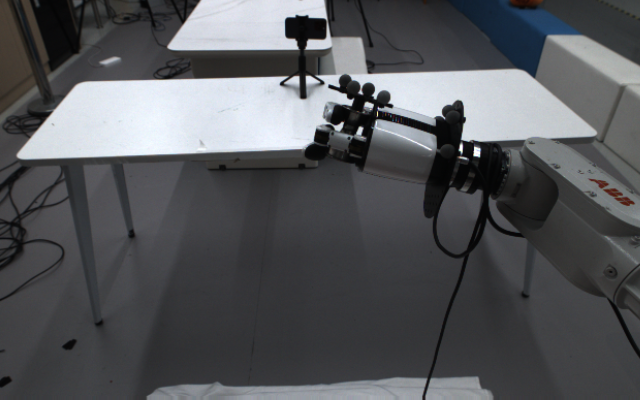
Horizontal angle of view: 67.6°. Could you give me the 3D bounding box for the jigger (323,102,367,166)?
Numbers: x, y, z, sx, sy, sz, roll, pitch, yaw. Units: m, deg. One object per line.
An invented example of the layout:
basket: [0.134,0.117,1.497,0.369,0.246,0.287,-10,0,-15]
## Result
jigger: [0.038,-0.088,0.643,0.043,0.071,0.043,18,17,-6]
